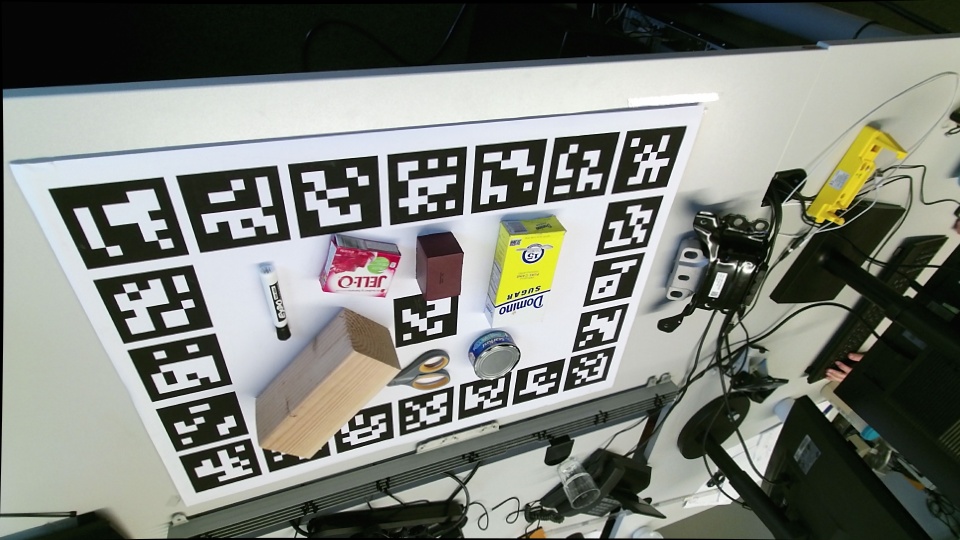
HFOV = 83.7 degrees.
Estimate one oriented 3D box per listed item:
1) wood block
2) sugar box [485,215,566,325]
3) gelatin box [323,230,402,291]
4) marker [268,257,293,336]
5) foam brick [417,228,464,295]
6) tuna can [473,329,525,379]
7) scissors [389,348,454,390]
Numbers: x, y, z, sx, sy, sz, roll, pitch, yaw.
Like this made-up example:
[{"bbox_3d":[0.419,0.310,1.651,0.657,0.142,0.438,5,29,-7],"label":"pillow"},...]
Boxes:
[{"bbox_3d":[-0.226,0.160,0.778,0.206,0.090,0.090,-45,131,10],"label":"wood block"},{"bbox_3d":[0.067,0.002,0.837,0.093,0.045,0.176,-6,125,-22],"label":"sugar box"},{"bbox_3d":[-0.159,-0.011,0.723,0.090,0.030,0.073,7,119,-31],"label":"gelatin box"},{"bbox_3d":[-0.264,0.038,0.712,0.020,0.019,0.121,-9,124,-21],"label":"marker"},{"bbox_3d":[-0.058,-0.013,0.753,0.053,0.051,0.078,-9,126,-22],"label":"foam brick"},{"bbox_3d":[0.032,0.145,0.925,0.086,0.033,0.086,-13,127,-18],"label":"tuna can"},{"bbox_3d":[-0.134,0.174,0.879,0.203,0.016,0.087,-5,125,-26],"label":"scissors"}]
